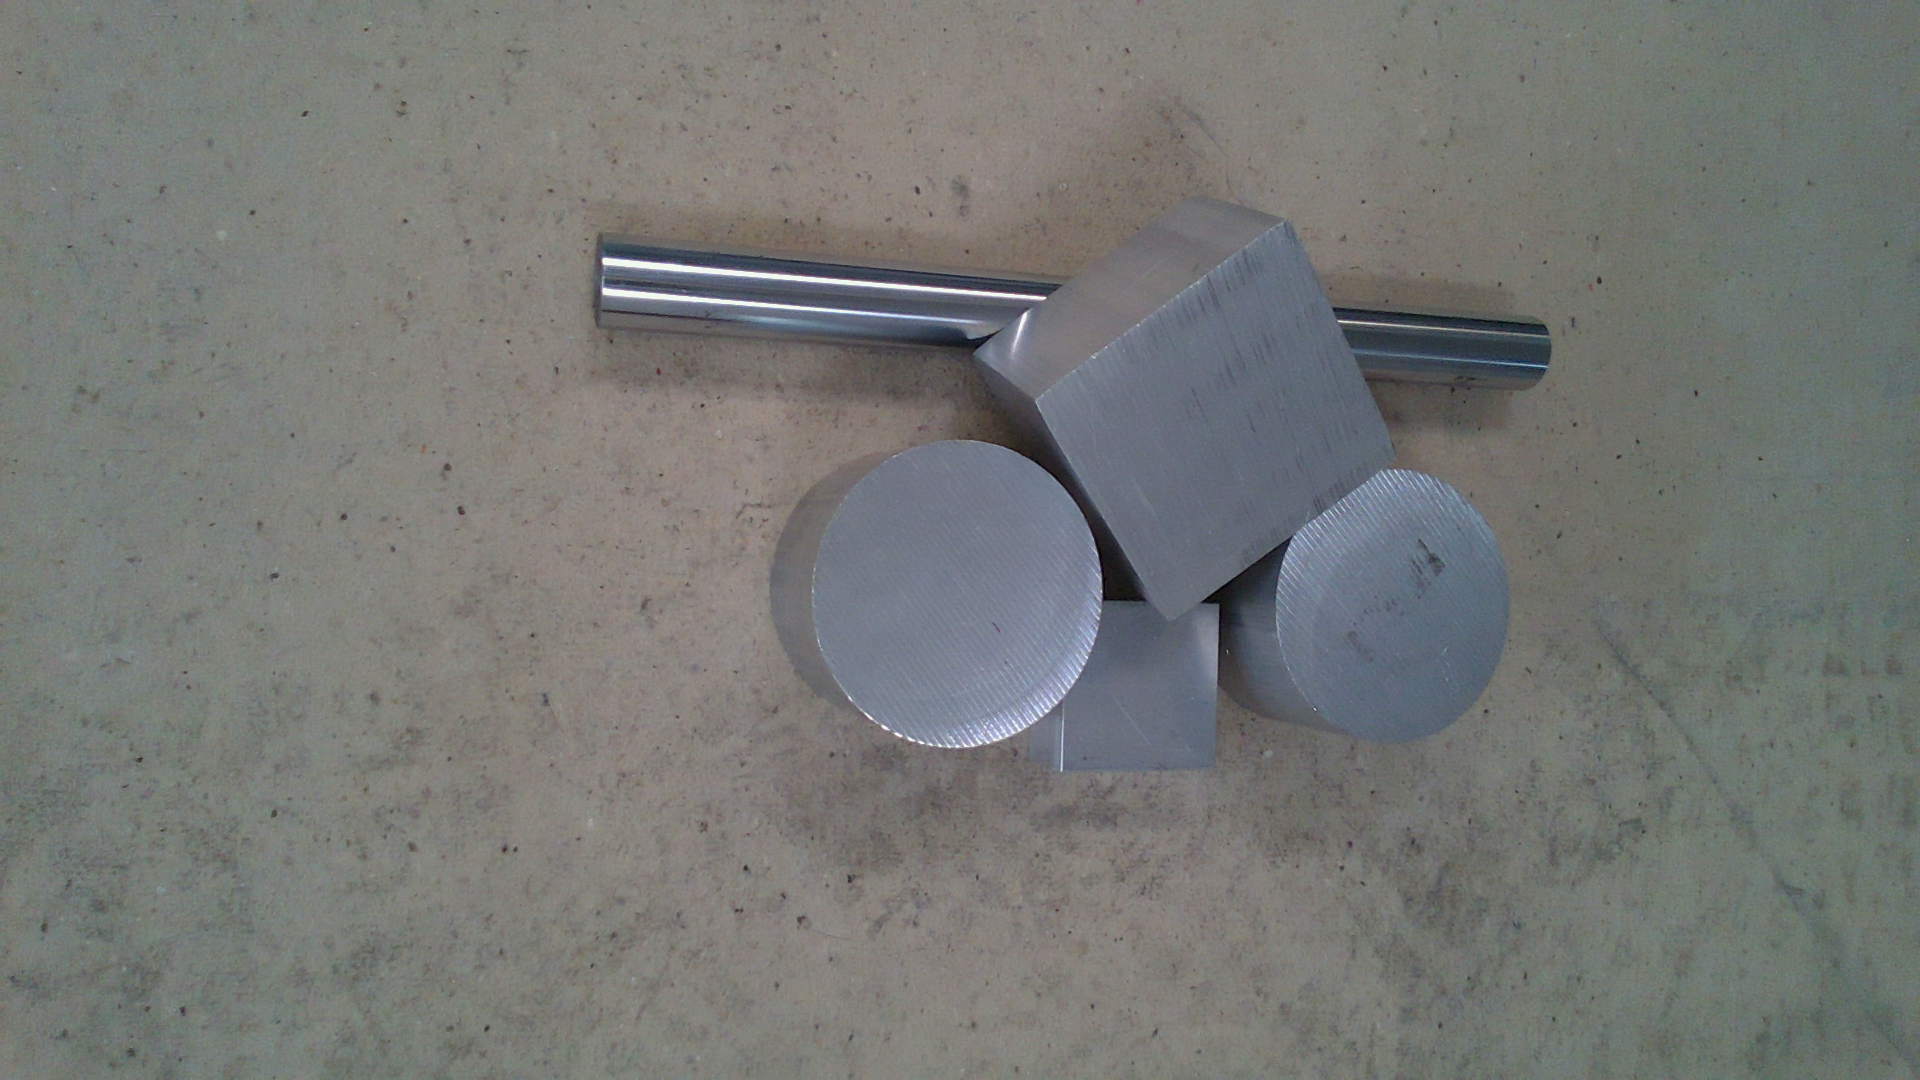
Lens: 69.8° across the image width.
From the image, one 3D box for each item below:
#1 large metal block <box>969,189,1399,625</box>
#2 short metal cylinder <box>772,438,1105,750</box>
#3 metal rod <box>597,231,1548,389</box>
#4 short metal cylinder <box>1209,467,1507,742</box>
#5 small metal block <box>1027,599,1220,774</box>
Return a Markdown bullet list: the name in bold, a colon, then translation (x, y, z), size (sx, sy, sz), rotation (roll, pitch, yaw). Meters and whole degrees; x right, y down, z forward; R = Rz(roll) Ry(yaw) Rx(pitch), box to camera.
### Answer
- **large metal block**: translation (0.062, -0.038, 0.384), size (0.080, 0.050, 0.080), rotation (-36, 118, -3)
- **short metal cylinder**: translation (-0.007, 0.014, 0.377), size (0.080, 0.050, 0.080), rotation (0, 90, -20)
- **metal rod**: translation (0.047, -0.065, 0.410), size (0.301, 0.025, 0.025), rotation (1, 90, -20)
- **short metal cylinder**: translation (0.118, 0.019, 0.423), size (0.080, 0.050, 0.080), rotation (0, 90, -20)
- **small metal block**: translation (0.049, 0.042, 0.412), size (0.050, 0.025, 0.050), rotation (2, 89, -20)
